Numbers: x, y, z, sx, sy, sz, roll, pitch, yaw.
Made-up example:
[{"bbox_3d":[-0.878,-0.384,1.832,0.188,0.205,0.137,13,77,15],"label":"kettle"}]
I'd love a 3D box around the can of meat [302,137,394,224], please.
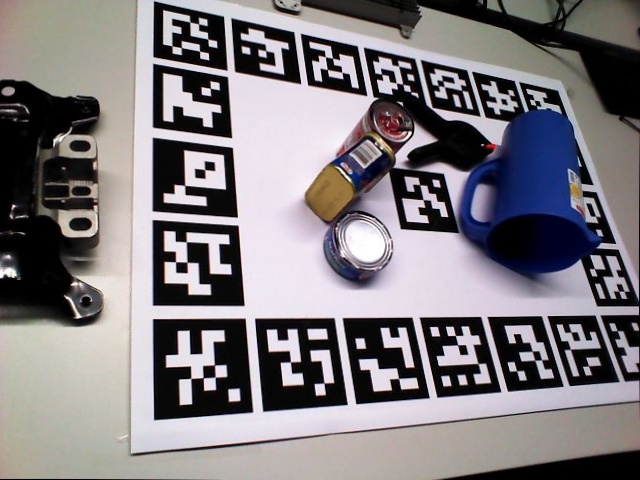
[{"bbox_3d":[0.033,-0.073,0.661,0.083,0.102,0.058,-38,86,-29],"label":"can of meat"}]

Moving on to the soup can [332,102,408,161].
[{"bbox_3d":[0.066,-0.132,0.709,0.068,0.103,0.067,8,66,-18],"label":"soup can"}]

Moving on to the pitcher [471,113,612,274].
[{"bbox_3d":[0.326,-0.082,0.779,0.189,0.134,0.241,11,53,5],"label":"pitcher"}]

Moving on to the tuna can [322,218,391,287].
[{"bbox_3d":[0.047,0.017,0.669,0.085,0.034,0.085,9,65,-21],"label":"tuna can"}]

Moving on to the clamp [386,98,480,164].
[{"bbox_3d":[0.186,-0.163,0.827,0.164,0.037,0.121,6,60,-26],"label":"clamp"}]
